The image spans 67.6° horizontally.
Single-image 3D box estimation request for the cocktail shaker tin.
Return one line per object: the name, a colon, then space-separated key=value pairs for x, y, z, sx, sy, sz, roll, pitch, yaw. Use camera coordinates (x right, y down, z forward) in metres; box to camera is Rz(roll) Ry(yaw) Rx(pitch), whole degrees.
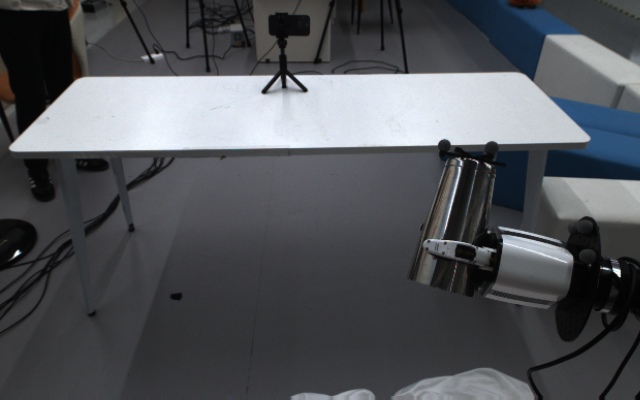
cocktail shaker tin: x=0.183 y=0.035 z=0.647 sx=0.093 sy=0.170 sz=0.093 roll=15 pitch=-4 yaw=1
